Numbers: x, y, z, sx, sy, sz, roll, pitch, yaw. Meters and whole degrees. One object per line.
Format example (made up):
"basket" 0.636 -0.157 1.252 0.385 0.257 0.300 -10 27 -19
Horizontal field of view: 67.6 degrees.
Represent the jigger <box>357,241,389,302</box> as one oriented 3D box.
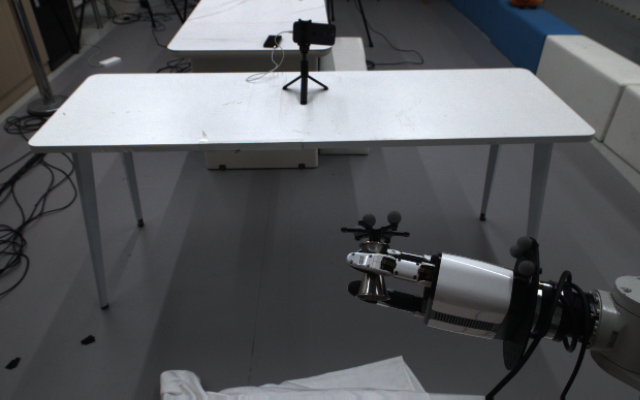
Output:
"jigger" 0.067 0.089 0.617 0.043 0.043 0.071 4 71 3
